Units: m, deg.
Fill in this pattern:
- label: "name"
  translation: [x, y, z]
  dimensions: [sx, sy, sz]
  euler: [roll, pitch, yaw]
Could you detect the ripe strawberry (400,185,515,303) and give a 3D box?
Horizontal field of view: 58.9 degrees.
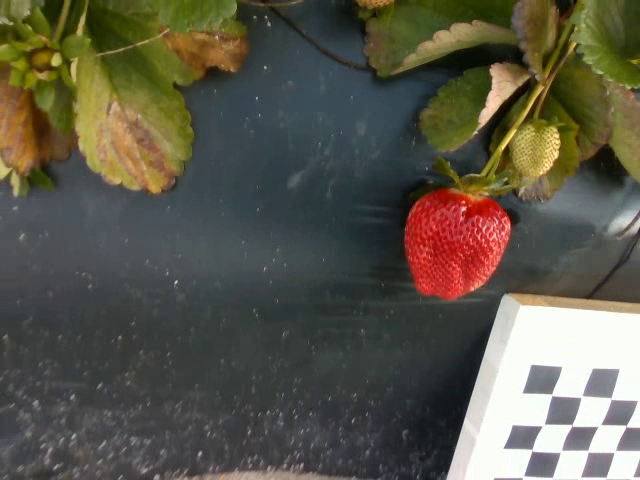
- label: "ripe strawberry"
  translation: [0.079, 0.003, 0.334]
  dimensions: [0.067, 0.075, 0.039]
  euler: [11, 15, -13]
